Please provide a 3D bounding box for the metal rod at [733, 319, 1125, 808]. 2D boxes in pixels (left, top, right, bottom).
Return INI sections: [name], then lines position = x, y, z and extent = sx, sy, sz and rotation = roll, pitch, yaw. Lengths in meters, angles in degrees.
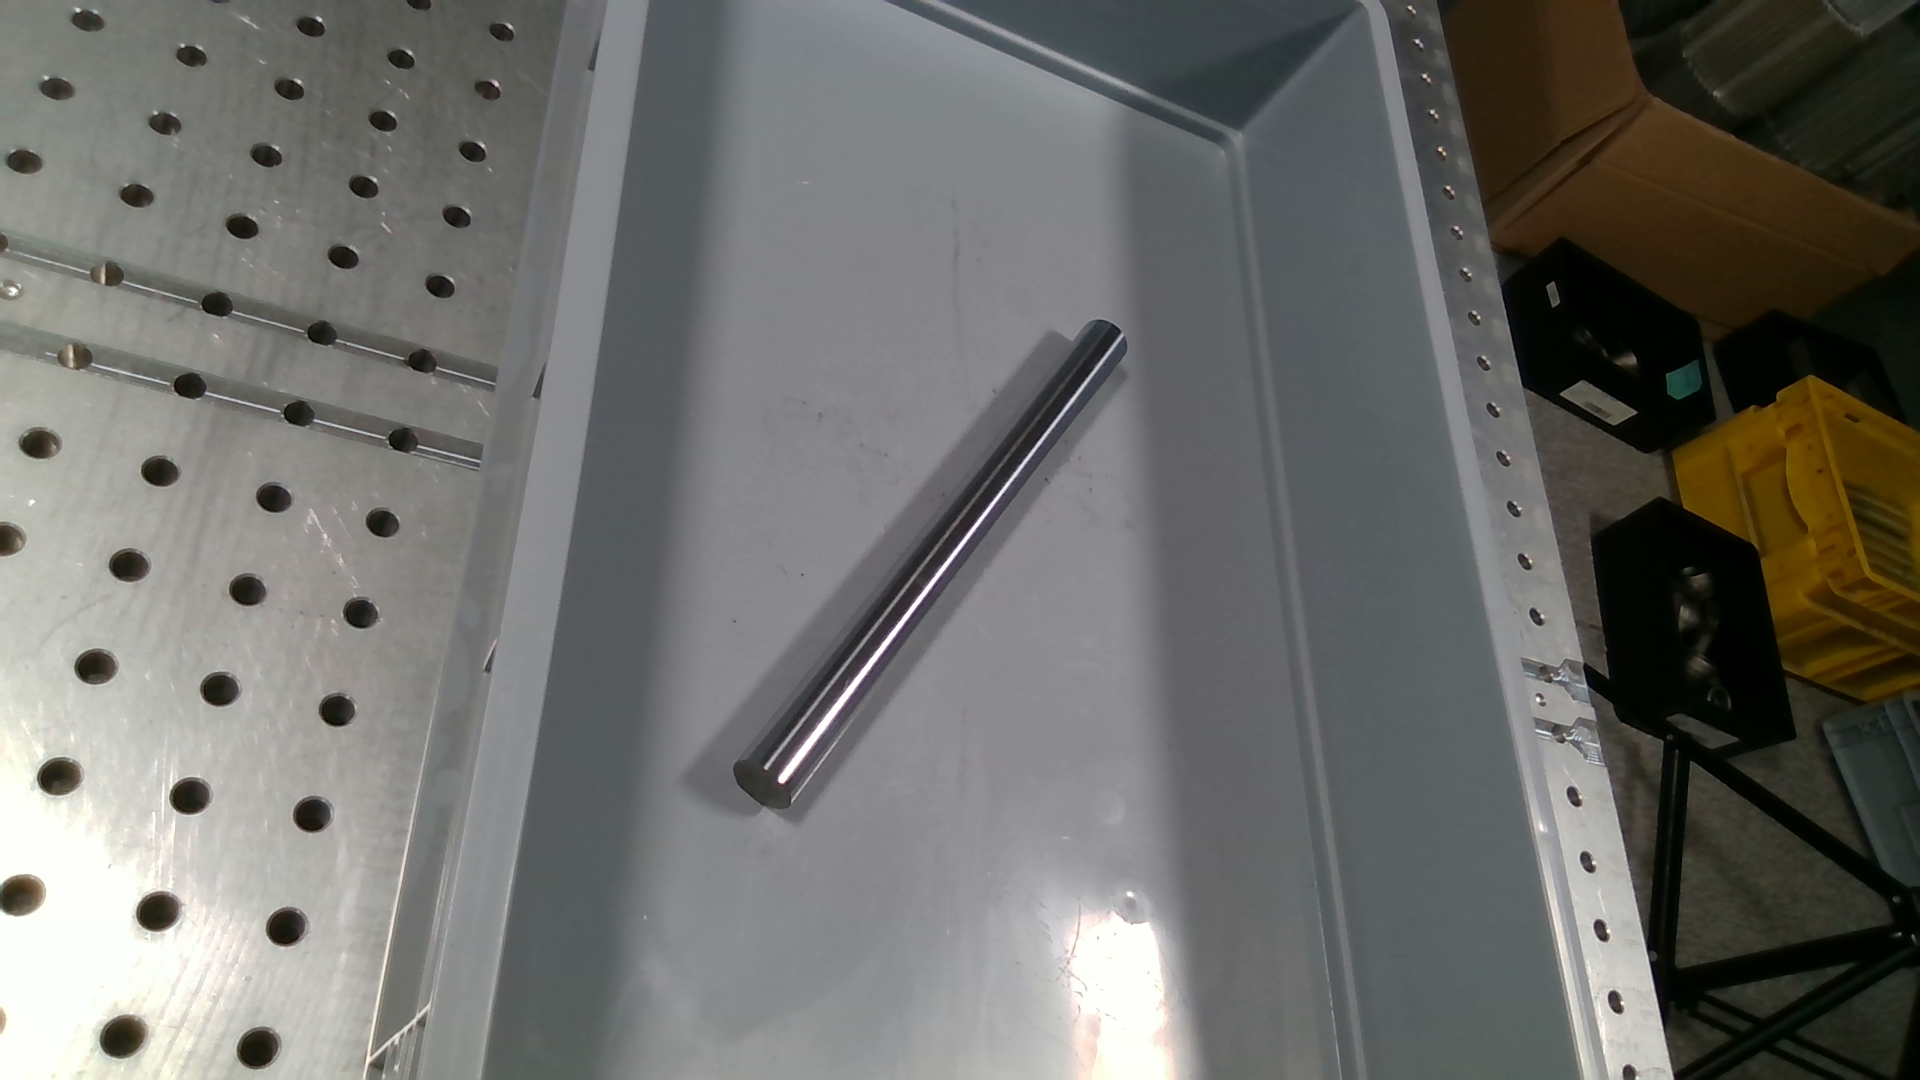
[metal rod]
position = 0.000, -0.006, 0.587
extent = 0.025, 0.025, 0.299
rotation = 42, 51, -6
